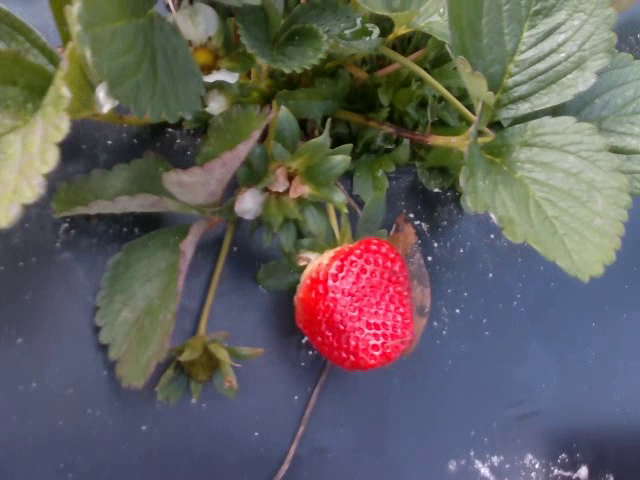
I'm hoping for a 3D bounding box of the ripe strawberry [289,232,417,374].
[{"bbox_3d":[0.014,0.027,0.211,0.050,0.049,0.053,1,39,-24],"label":"ripe strawberry"}]
